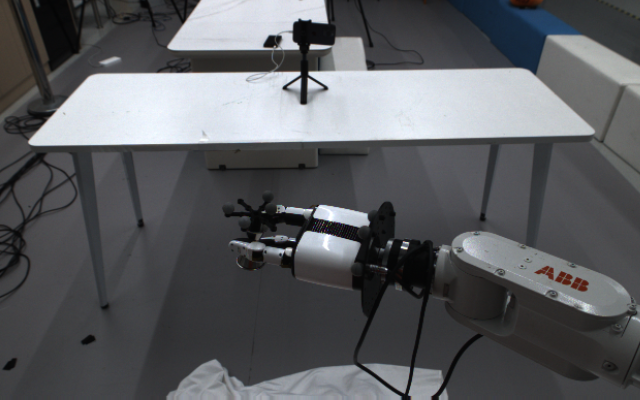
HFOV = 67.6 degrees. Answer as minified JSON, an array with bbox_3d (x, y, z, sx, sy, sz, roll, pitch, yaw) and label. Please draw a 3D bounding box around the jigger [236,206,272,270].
[{"bbox_3d":[-0.099,0.064,0.715,0.043,0.071,0.043,9,30,-5],"label":"jigger"}]
